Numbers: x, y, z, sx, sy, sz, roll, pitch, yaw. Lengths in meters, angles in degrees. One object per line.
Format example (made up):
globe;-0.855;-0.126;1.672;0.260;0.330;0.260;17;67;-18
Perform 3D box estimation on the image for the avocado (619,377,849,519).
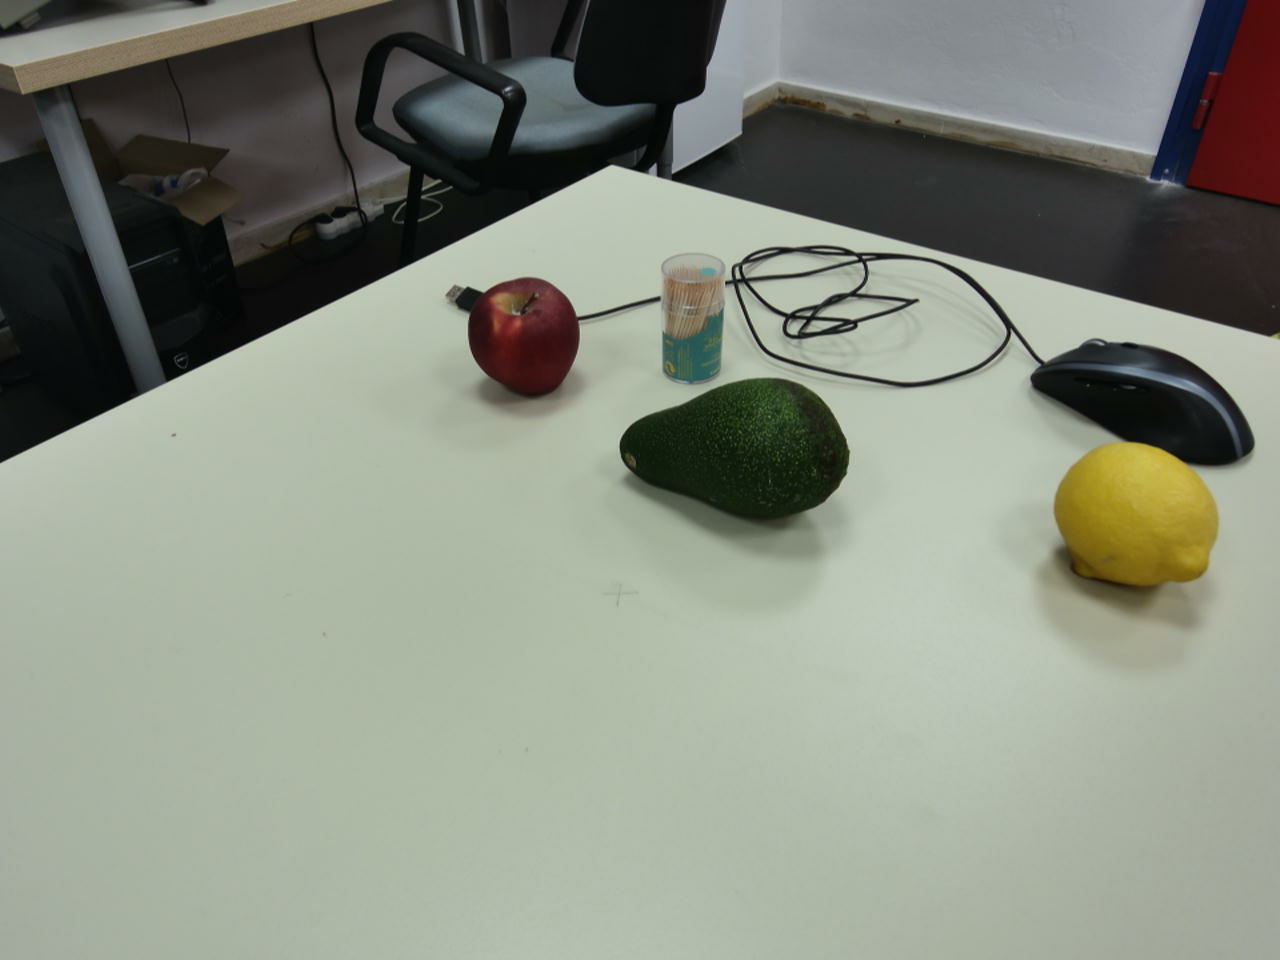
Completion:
avocado;0.053;-0.023;0.526;0.123;0.076;0.074;30;47;34
